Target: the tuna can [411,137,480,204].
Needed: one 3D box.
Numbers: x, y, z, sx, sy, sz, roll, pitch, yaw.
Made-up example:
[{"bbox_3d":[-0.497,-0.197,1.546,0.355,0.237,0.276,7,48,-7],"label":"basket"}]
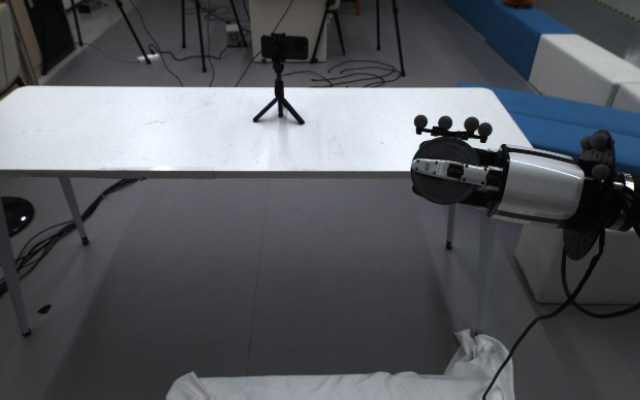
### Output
[{"bbox_3d":[0.161,-0.041,0.618,0.085,0.085,0.034,11,2,12],"label":"tuna can"}]
